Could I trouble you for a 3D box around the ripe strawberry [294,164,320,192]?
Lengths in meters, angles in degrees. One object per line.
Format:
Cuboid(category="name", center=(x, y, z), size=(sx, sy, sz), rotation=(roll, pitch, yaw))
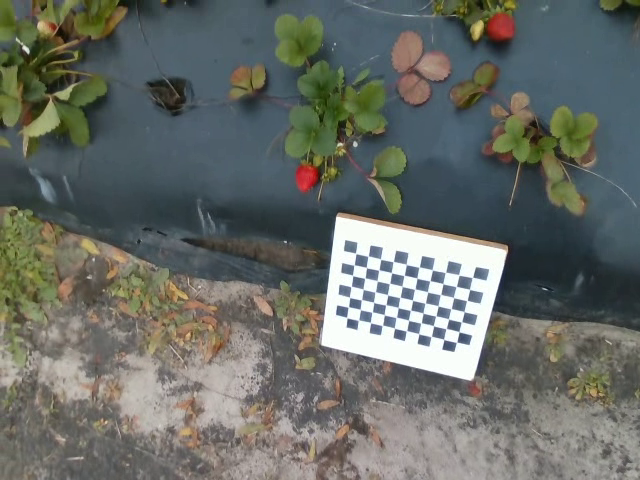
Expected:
Cuboid(category="ripe strawberry", center=(-0.006, -0.033, 0.247), size=(0.018, 0.017, 0.014), rotation=(13, -18, 0))
